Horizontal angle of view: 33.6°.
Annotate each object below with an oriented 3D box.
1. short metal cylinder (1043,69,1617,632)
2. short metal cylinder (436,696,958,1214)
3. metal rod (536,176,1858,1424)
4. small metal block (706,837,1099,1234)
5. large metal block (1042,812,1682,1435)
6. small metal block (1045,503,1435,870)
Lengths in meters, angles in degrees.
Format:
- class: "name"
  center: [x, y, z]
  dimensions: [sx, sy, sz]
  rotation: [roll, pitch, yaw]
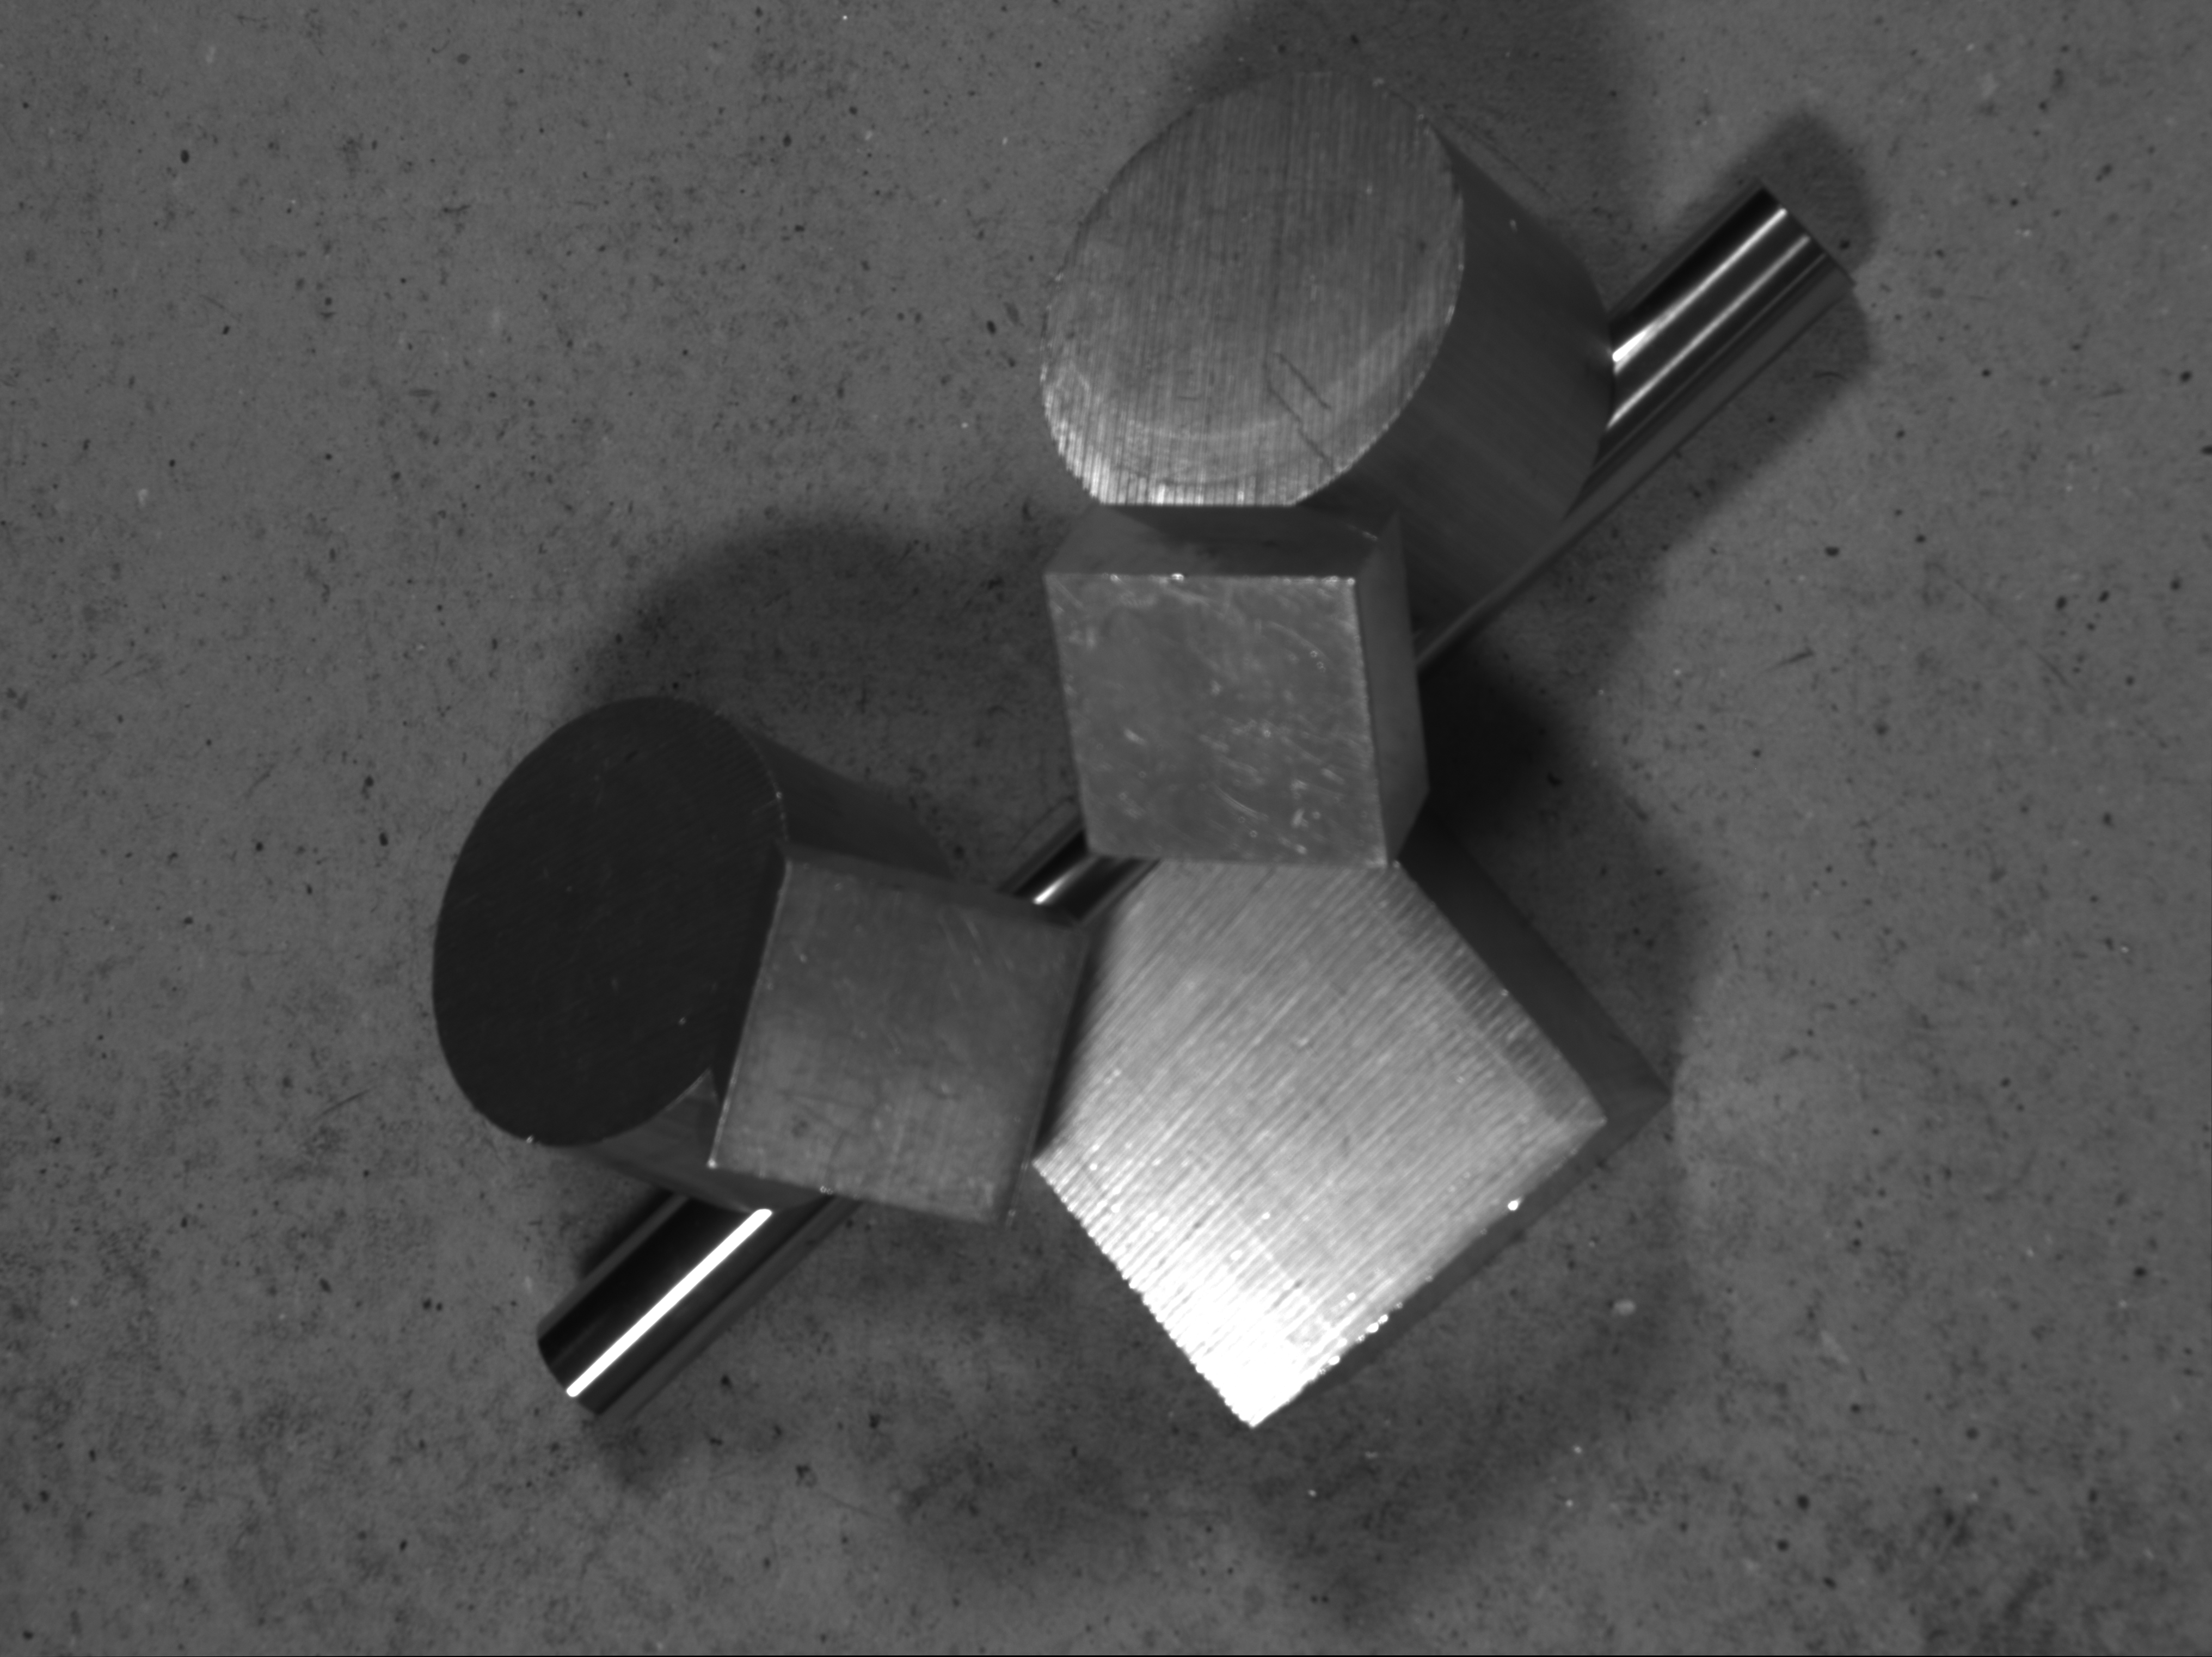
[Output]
- class: "short metal cylinder"
  center: [0.037, -0.077, 0.603]
  dimensions: [0.080, 0.050, 0.080]
  rotation: [-14, 64, 32]
- class: "short metal cylinder"
  center: [-0.070, 0.023, 0.641]
  dimensions: [0.080, 0.050, 0.080]
  rotation: [-14, 64, 31]
- class: "metal rod"
  center: [0.010, 0.001, 0.641]
  dimensions: [0.300, 0.025, 0.025]
  rotation: [-43, 77, 14]
- class: "small metal block"
  center: [-0.034, 0.033, 0.591]
  dimensions: [0.050, 0.025, 0.050]
  rotation: [14, 96, -13]
- class: "large metal block"
  center: [0.036, 0.042, 0.616]
  dimensions: [0.080, 0.050, 0.080]
  rotation: [-43, 77, 15]
- class: "small metal block"
  center: [0.022, -0.022, 0.570]
  dimensions: [0.050, 0.025, 0.050]
  rotation: [2, 121, 20]
